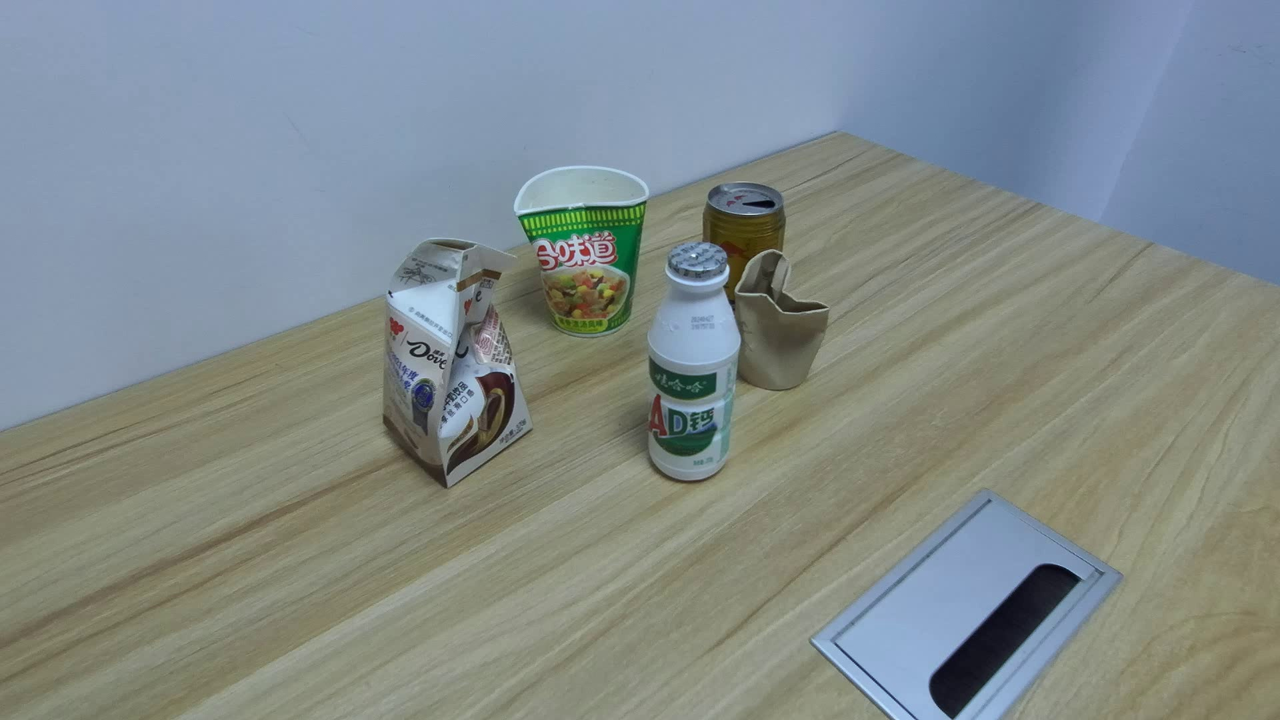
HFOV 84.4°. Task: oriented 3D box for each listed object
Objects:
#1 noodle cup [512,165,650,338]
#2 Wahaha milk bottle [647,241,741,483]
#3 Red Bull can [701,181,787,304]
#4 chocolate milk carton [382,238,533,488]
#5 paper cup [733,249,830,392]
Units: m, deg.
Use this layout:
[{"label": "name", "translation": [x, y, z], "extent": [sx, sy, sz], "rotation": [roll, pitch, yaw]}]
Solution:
[{"label": "noodle cup", "translation": [-0.039, -0.083, 0.552], "extent": [0.093, 0.109, 0.087], "rotation": [7, 38, 11]}, {"label": "Wahaha milk bottle", "translation": [0.030, 0.004, 0.411], "extent": [0.053, 0.147, 0.053], "rotation": [-1, 38, 1]}, {"label": "Red Bull can", "translation": [0.082, -0.089, 0.574], "extent": [0.068, 0.093, 0.068], "rotation": [0, 40, 0]}, {"label": "chocolate milk carton", "translation": [-0.112, -0.007, 0.438], "extent": [0.076, 0.155, 0.089], "rotation": [29, 33, 29]}, {"label": "paper cup", "translation": [0.100, -0.024, 0.496], "extent": [0.058, 0.083, 0.066], "rotation": [16, 45, 17]}]
